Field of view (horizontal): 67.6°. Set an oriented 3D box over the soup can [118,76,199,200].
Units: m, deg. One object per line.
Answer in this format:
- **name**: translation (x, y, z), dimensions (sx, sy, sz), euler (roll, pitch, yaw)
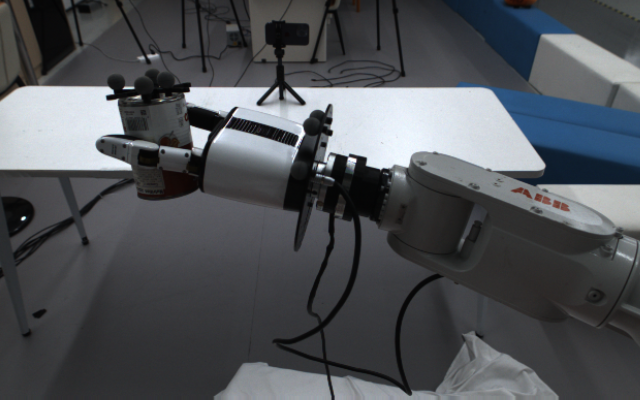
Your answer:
- **soup can**: translation (-0.166, -0.058, 0.512), dimensions (0.067, 0.101, 0.067), euler (-4, 21, 1)
